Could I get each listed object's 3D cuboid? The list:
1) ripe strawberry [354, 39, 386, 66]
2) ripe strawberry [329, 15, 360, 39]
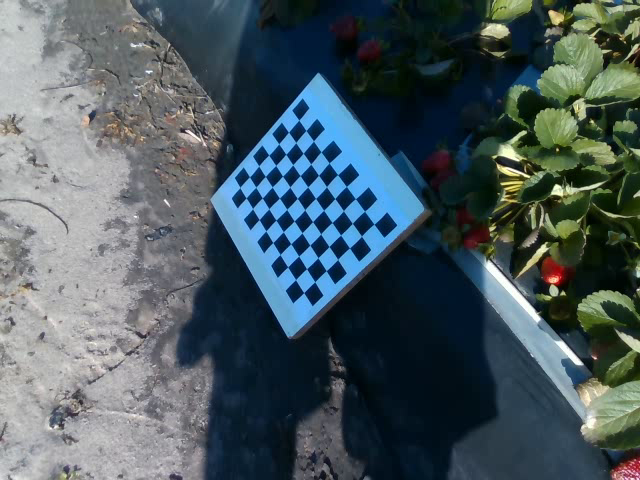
[{"bbox_3d":[0.070,-0.291,0.999,0.042,0.039,0.049,4,22,41],"label":"ripe strawberry"},{"bbox_3d":[0.031,-0.343,1.033,0.050,0.051,0.044,-4,-23,-31],"label":"ripe strawberry"}]
